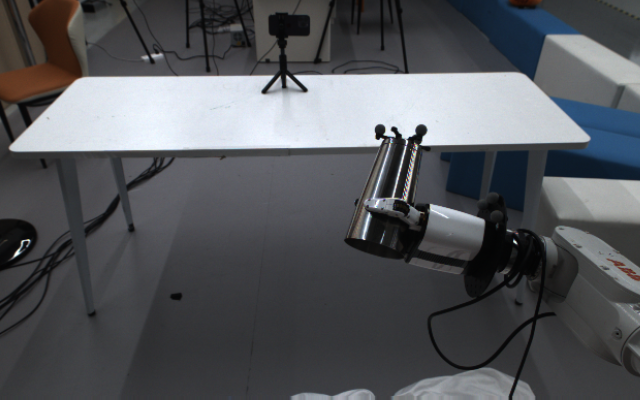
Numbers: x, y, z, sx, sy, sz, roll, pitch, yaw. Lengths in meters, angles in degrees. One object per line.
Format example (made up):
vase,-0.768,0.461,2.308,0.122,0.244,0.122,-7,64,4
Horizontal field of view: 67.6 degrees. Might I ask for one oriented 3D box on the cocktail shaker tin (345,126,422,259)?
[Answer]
cocktail shaker tin,0.103,-0.006,0.735,0.093,0.093,0.170,13,73,15
